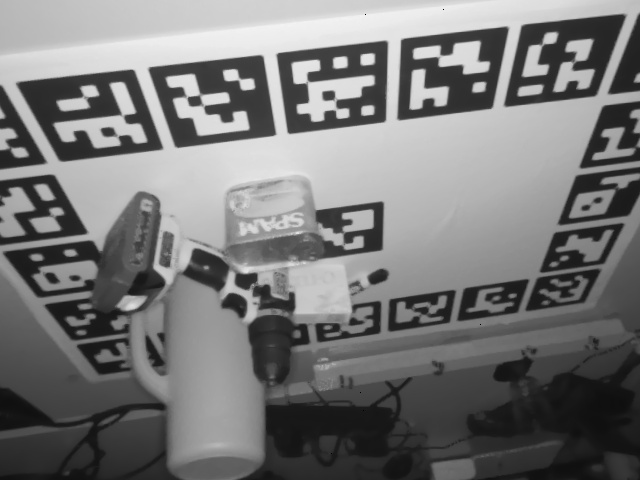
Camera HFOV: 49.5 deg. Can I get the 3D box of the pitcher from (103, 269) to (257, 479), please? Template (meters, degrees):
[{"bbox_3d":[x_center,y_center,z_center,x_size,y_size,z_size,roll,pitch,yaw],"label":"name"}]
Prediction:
[{"bbox_3d":[-0.158,0.150,0.827,0.191,0.243,0.131,11,133,-31],"label":"pitcher"}]

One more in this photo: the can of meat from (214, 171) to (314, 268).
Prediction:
[{"bbox_3d":[-0.061,-0.023,0.749,0.102,0.084,0.057,-7,142,-1],"label":"can of meat"}]

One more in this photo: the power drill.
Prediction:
[{"bbox_3d":[-0.119,0.061,0.765,0.189,0.186,0.056,22,129,-23],"label":"power drill"}]

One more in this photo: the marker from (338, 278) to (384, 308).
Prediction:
[{"bbox_3d":[0.032,0.080,0.940,0.120,0.020,0.020,-26,137,17],"label":"marker"}]

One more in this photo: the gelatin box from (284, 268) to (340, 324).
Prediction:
[{"bbox_3d":[-0.023,0.070,0.880,0.090,0.074,0.030,1,135,-9],"label":"gelatin box"}]
